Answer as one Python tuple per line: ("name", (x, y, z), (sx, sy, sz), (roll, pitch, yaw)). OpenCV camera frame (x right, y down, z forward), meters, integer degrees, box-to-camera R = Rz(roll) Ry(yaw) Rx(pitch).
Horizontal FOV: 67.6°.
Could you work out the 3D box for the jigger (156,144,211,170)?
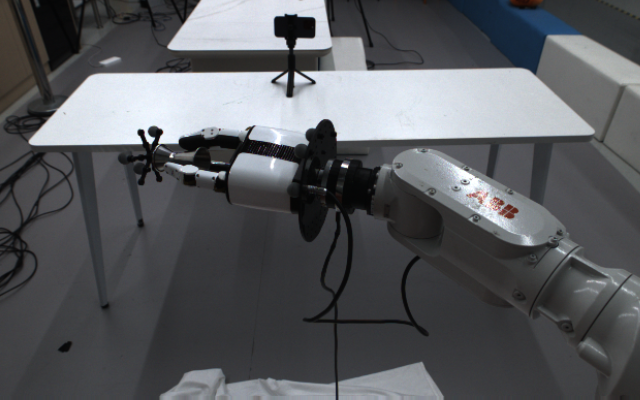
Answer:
("jigger", (-0.186, -0.062, 0.677), (0.071, 0.043, 0.043), (6, 34, 17))
